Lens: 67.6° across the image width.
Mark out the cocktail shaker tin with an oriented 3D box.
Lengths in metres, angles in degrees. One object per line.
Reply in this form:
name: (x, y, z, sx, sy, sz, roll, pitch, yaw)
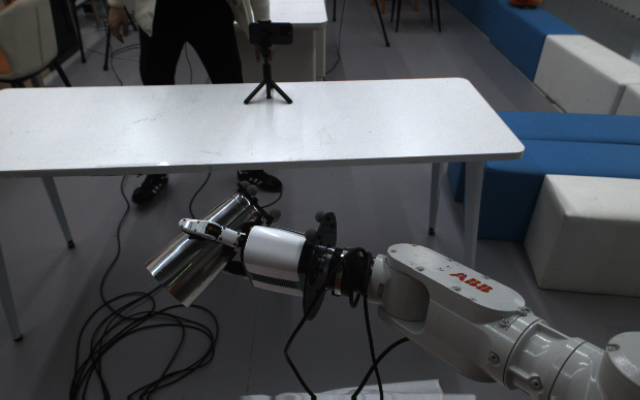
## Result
cocktail shaker tin: (-0.169, 0.068, 0.732, 0.170, 0.093, 0.093, -43, 50, -13)
